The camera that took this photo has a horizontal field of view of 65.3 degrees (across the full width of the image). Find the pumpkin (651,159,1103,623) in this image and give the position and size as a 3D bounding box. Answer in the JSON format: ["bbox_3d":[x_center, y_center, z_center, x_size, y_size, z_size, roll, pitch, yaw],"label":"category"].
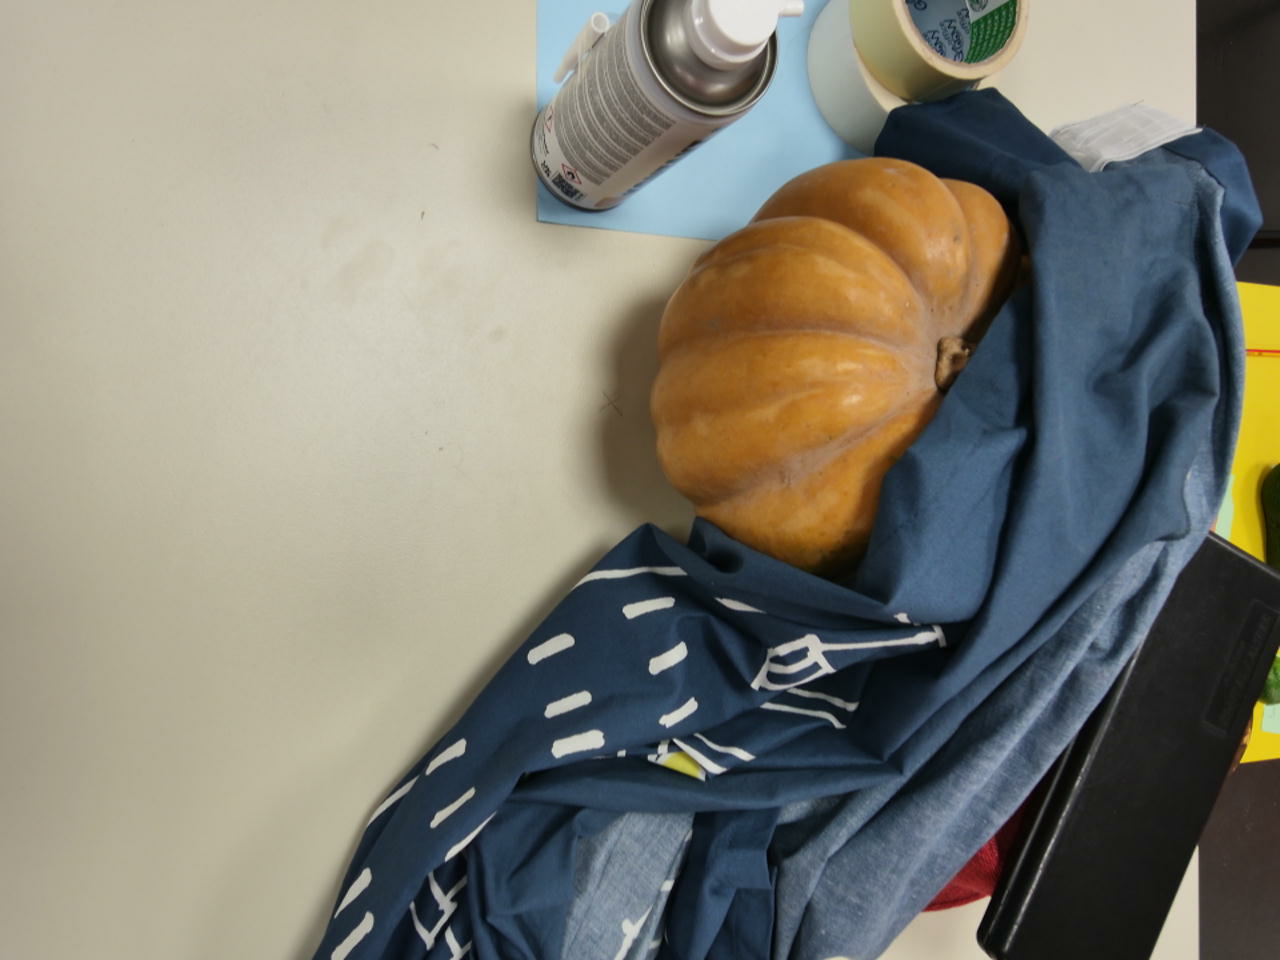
[{"bbox_3d":[0.114,-0.040,0.510,0.230,0.194,0.230,0,91,-22],"label":"pumpkin"}]
